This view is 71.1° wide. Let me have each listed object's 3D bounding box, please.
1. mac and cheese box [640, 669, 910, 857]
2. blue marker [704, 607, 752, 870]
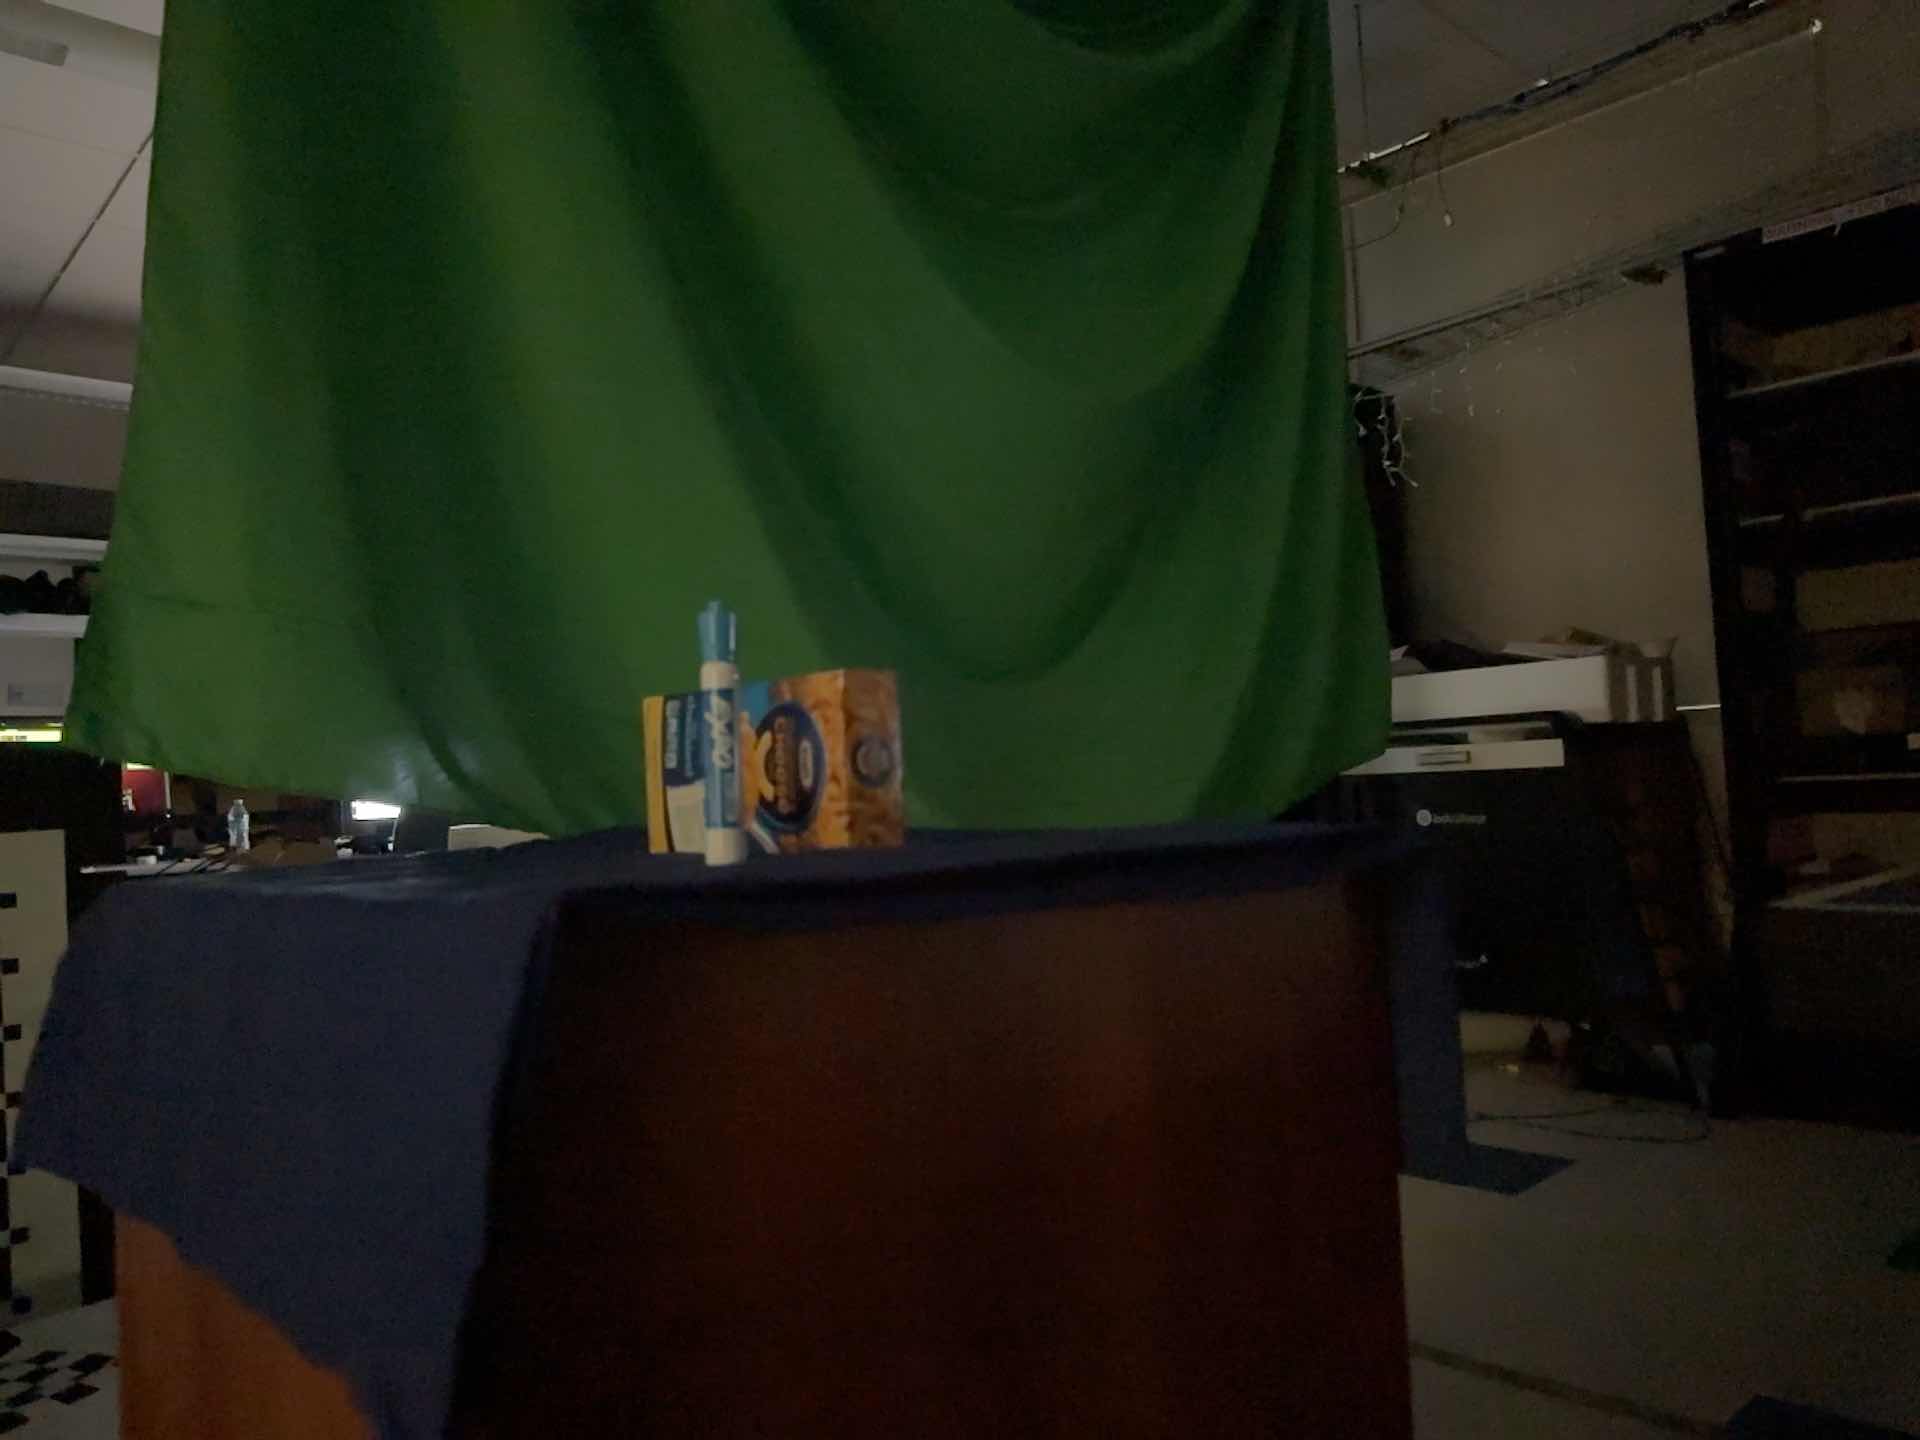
[{"bbox_3d":[-0.105,0.026,0.719,0.035,0.088,0.181,0,-4,-45],"label":"mac and cheese box"},{"bbox_3d":[-0.108,0.008,0.625,0.020,0.121,0.020,-2,-2,0],"label":"blue marker"}]
